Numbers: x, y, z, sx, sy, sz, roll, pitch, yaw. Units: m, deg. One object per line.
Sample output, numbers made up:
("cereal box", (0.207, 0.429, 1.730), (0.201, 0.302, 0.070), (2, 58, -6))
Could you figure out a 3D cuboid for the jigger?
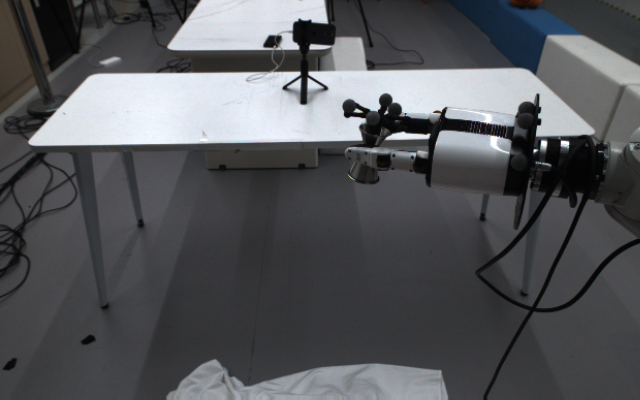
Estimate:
("jigger", (0.063, -0.060, 0.628), (0.043, 0.071, 0.043), (9, 30, -5))
